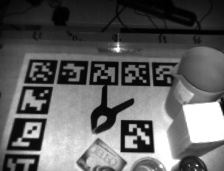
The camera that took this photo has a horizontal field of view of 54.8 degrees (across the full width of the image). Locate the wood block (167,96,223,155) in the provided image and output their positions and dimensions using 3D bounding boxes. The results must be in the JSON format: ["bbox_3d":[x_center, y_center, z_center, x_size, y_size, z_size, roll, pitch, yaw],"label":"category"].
[{"bbox_3d":[0.221,0.113,0.567,0.090,0.207,0.090,-3,61,-3],"label":"wood block"}]

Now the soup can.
[{"bbox_3d":[0.206,0.217,0.571,0.068,0.102,0.067,-1,64,2],"label":"soup can"}]

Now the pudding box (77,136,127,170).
[{"bbox_3d":[-0.027,0.214,0.616,0.113,0.039,0.090,33,70,18],"label":"pudding box"}]

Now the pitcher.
[{"bbox_3d":[0.245,-0.001,0.610,0.188,0.244,0.132,-3,59,3],"label":"pitcher"}]

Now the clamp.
[{"bbox_3d":[-0.005,0.075,0.696,0.121,0.036,0.165,28,66,7],"label":"clamp"}]

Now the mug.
[{"bbox_3d":[0.114,0.242,0.572,0.116,0.082,0.093,31,65,18],"label":"mug"}]
